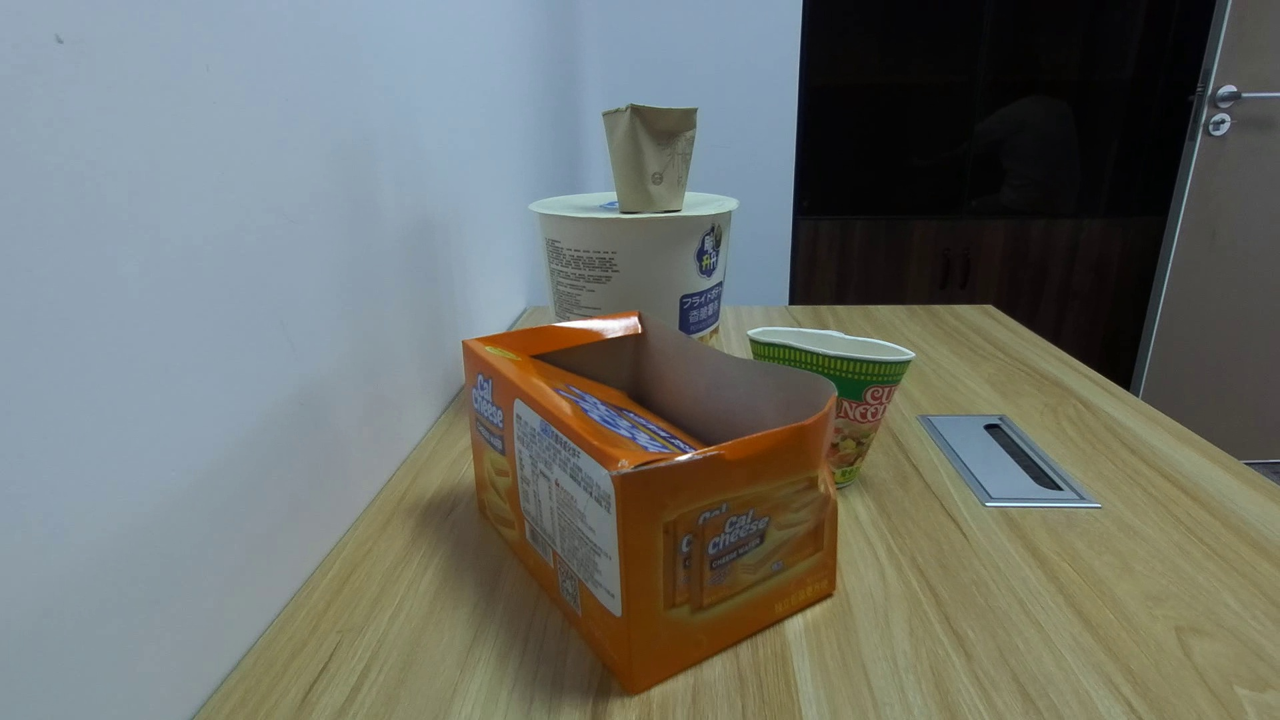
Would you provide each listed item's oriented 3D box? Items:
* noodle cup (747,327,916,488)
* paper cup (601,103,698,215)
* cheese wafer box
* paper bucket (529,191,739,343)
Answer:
[{"bbox_3d":[0.136,0.033,0.537,0.070,0.111,0.114,-17,26,-32],"label":"noodle cup"},{"bbox_3d":[0.010,-0.166,0.585,0.066,0.084,0.071,-10,17,-24],"label":"paper cup"},{"bbox_3d":[0.001,0.065,0.444,0.153,0.132,0.229,-11,20,-30],"label":"cheese wafer box"},{"bbox_3d":[-0.003,-0.051,0.666,0.198,0.194,0.198,-1,20,1],"label":"paper bucket"}]
